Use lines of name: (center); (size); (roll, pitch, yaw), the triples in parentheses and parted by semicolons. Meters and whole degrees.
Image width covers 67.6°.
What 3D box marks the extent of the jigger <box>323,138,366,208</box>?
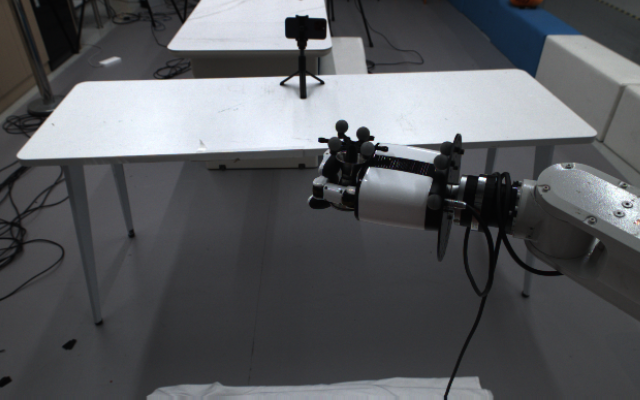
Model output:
jigger: (0.036, -0.027, 0.638); (0.043, 0.071, 0.043); (5, 26, -3)
